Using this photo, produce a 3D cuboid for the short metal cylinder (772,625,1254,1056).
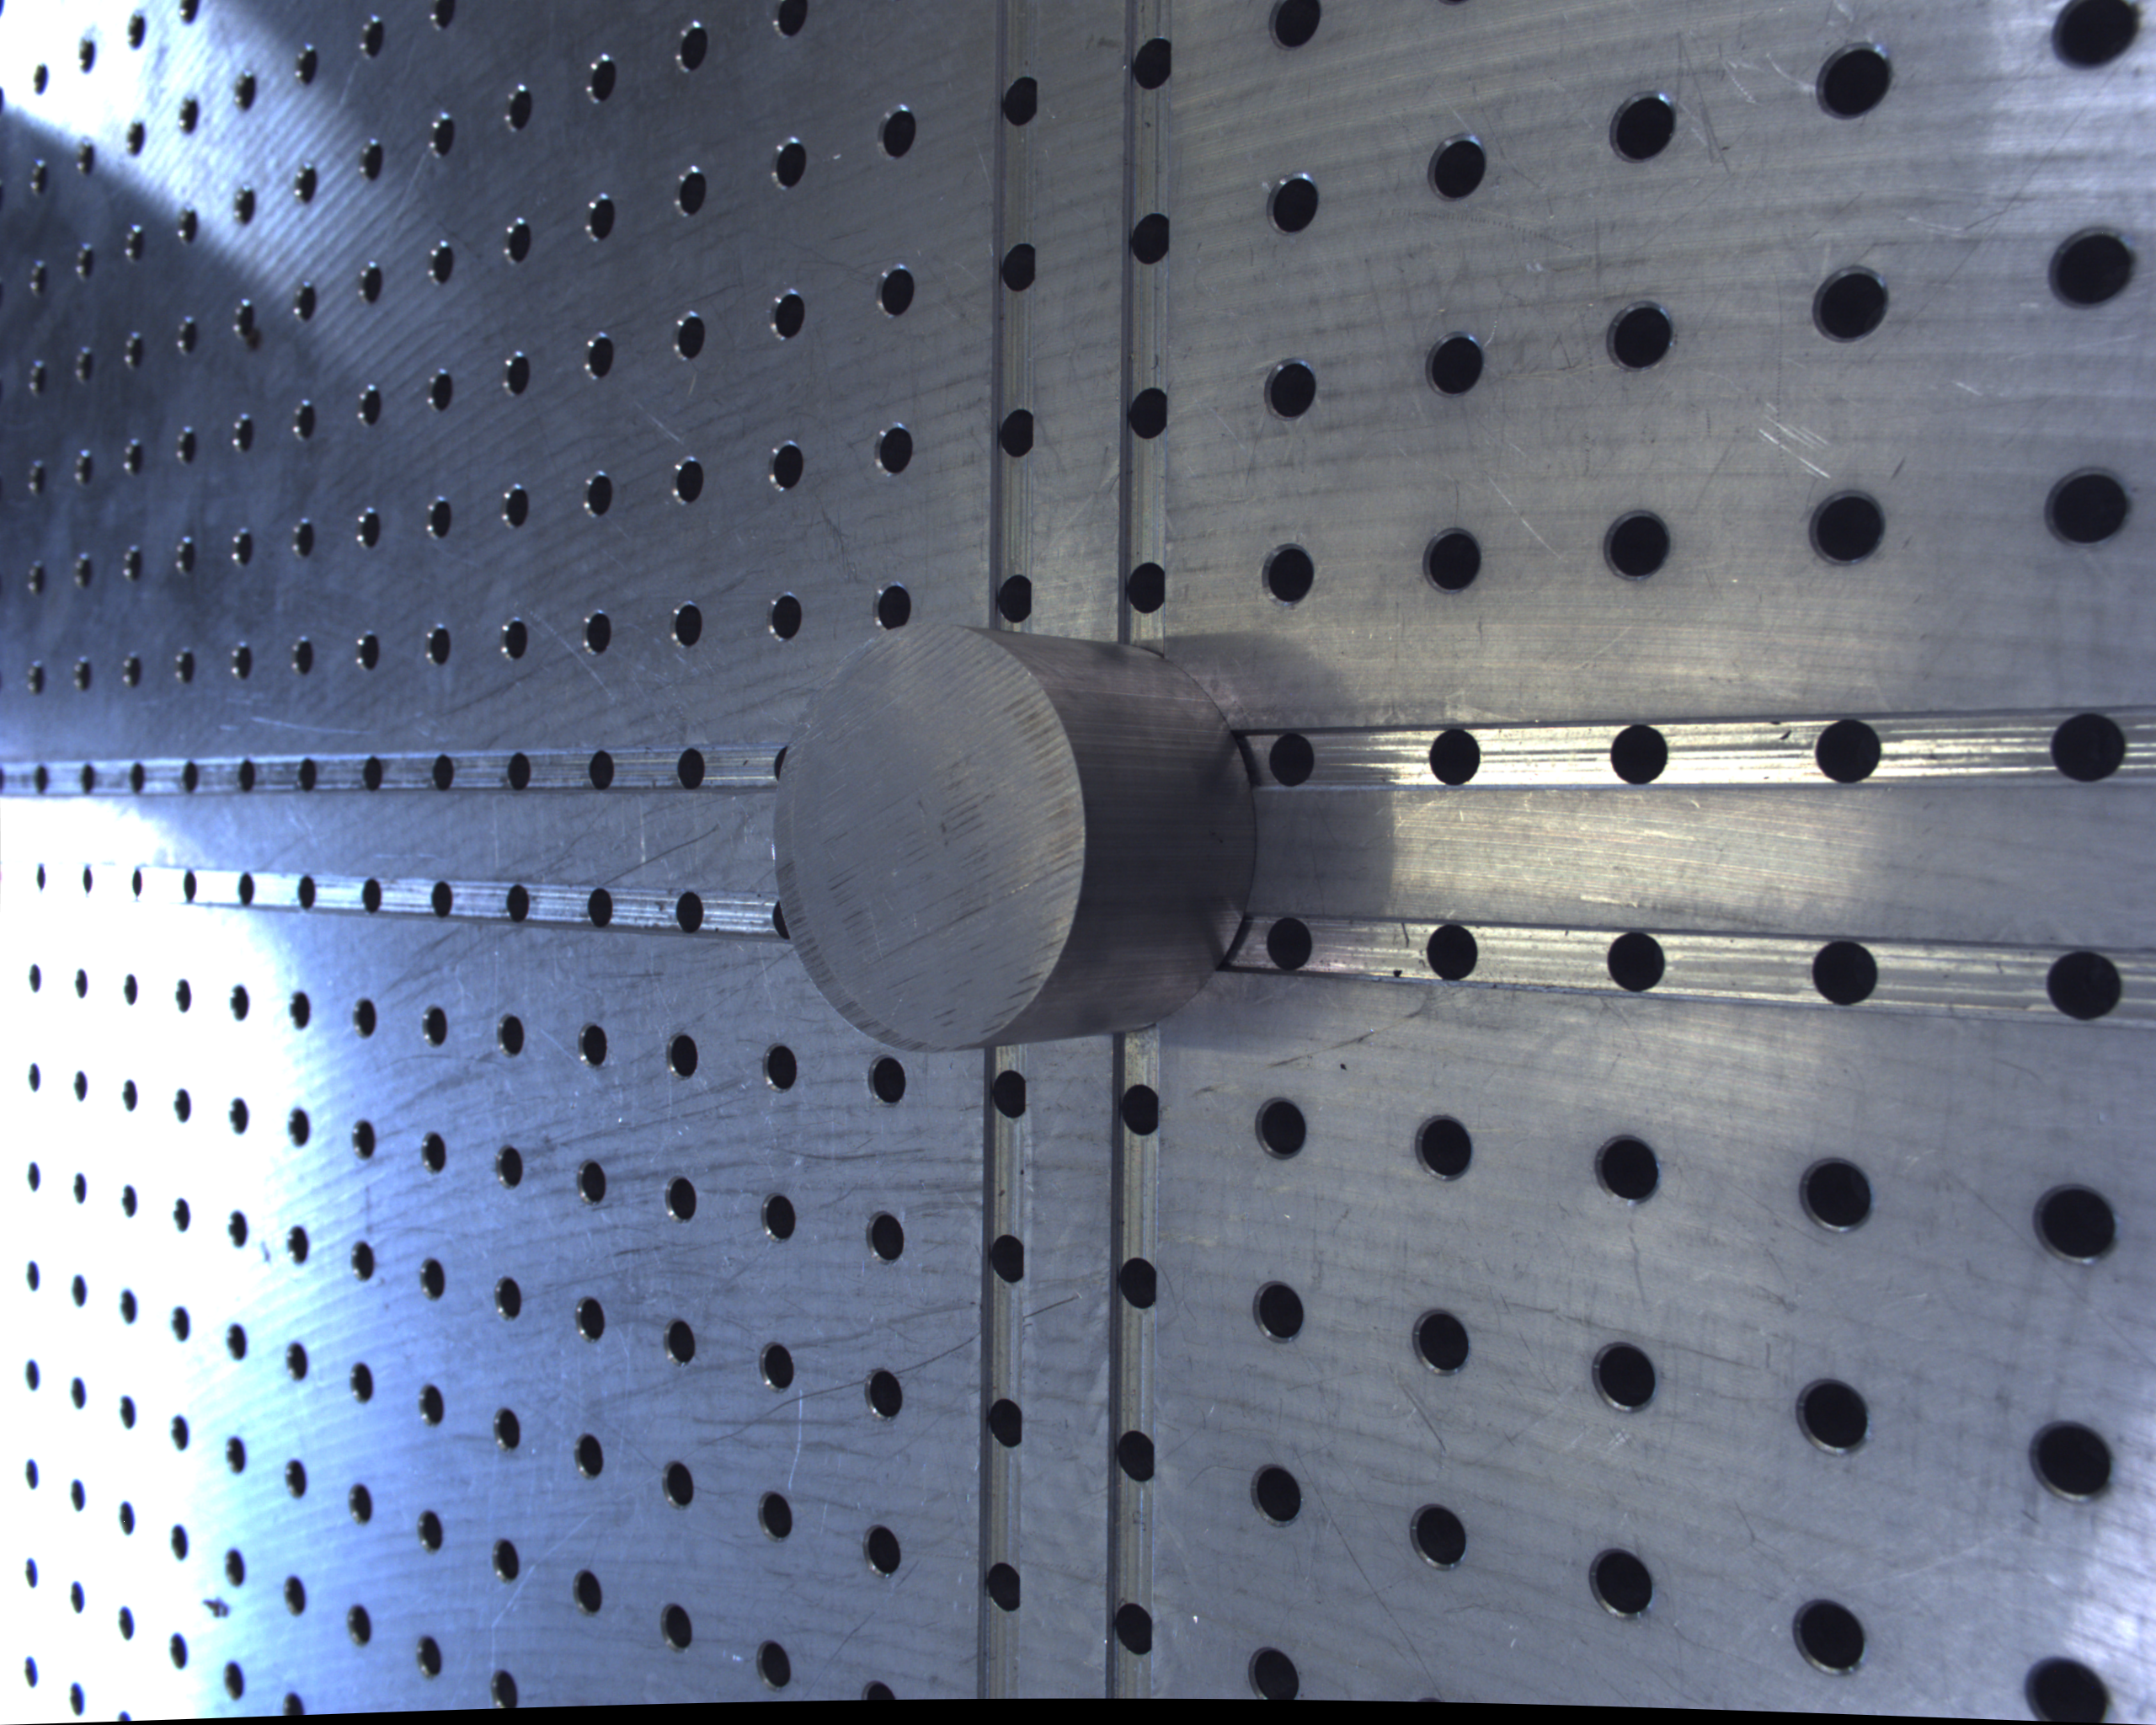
[{"bbox_3d":[-0.013,-0.004,0.405,0.080,0.050,0.080,0,90,40],"label":"short metal cylinder"}]
